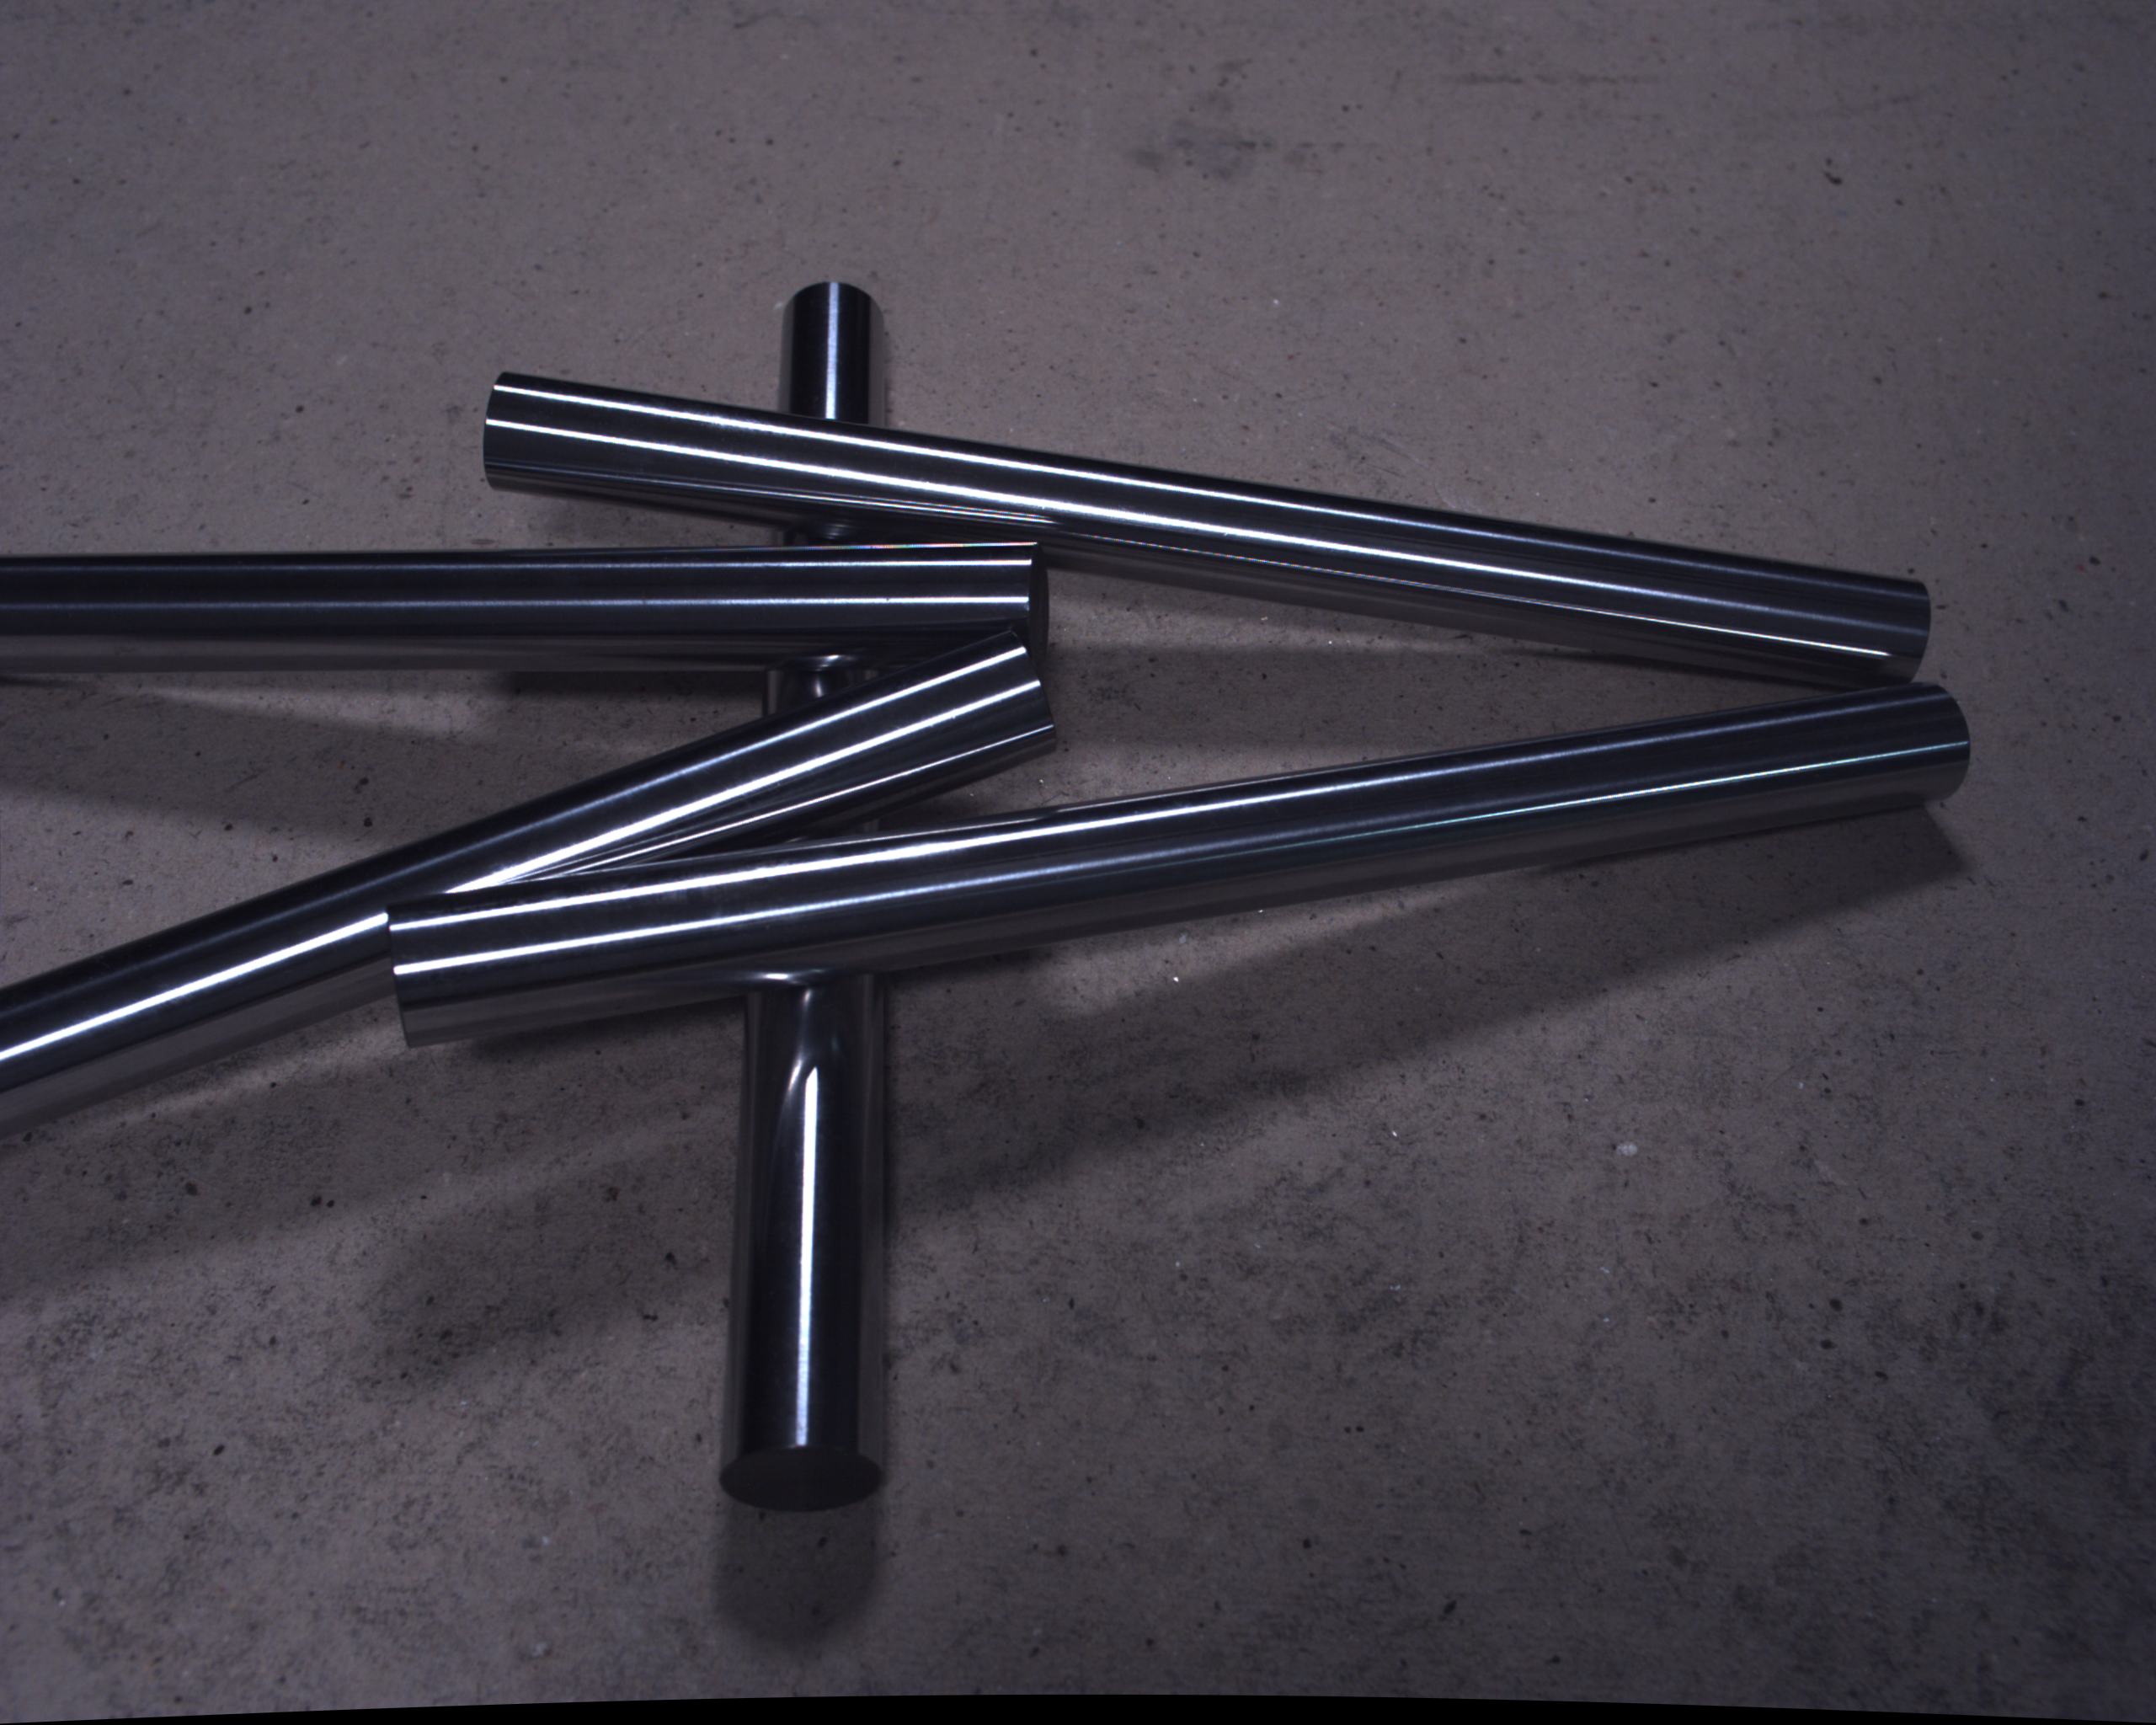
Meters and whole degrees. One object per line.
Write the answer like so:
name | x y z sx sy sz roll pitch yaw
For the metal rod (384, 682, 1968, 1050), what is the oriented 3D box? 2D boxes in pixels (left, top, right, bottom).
metal rod | 0.031 -0.003 0.387 0.302 0.025 0.025 -9 50 -16

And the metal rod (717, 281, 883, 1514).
metal rod | -0.052 -0.019 0.419 0.025 0.025 0.300 -2 50 -2

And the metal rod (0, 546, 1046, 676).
metal rod | -0.157 -0.051 0.427 0.302 0.025 0.025 1 50 7

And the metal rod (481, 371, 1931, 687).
metal rod | 0.028 -0.070 0.442 0.302 0.025 0.025 8 50 -2

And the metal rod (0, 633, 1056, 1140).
metal rod | -0.148 0.021 0.367 0.302 0.025 0.025 -21 53 -10
